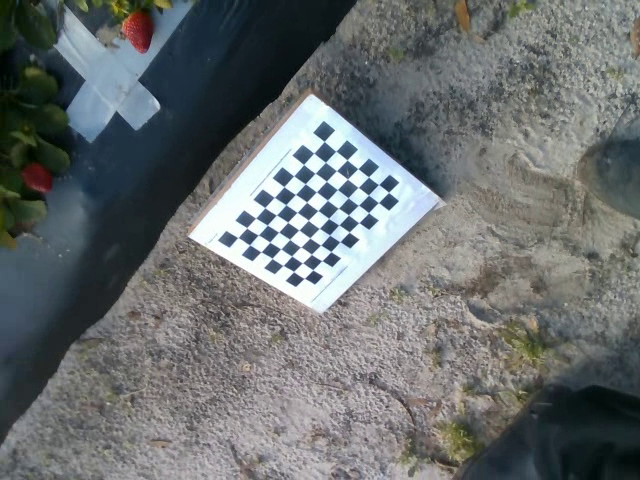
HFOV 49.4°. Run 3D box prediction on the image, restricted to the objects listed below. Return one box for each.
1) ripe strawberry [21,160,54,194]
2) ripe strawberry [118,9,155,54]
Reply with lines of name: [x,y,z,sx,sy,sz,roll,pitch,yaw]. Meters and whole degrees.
ripe strawberry: [-0.184,-0.034,0.472,0.018,0.022,0.021,-45,2,42]
ripe strawberry: [-0.108,-0.115,0.430,0.023,0.026,0.020,-22,-1,38]
